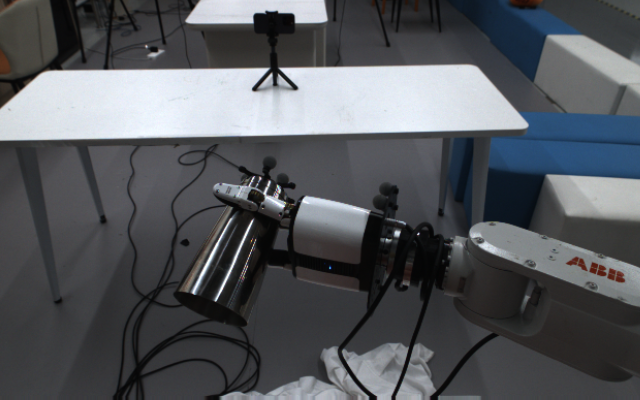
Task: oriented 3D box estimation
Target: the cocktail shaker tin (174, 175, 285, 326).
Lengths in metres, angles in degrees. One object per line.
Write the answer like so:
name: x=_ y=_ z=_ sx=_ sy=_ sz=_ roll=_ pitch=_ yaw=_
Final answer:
cocktail shaker tin: x=-0.100 y=0.054 z=0.594 sx=0.093 sy=0.093 sz=0.170 roll=13 pitch=59 yaw=16
